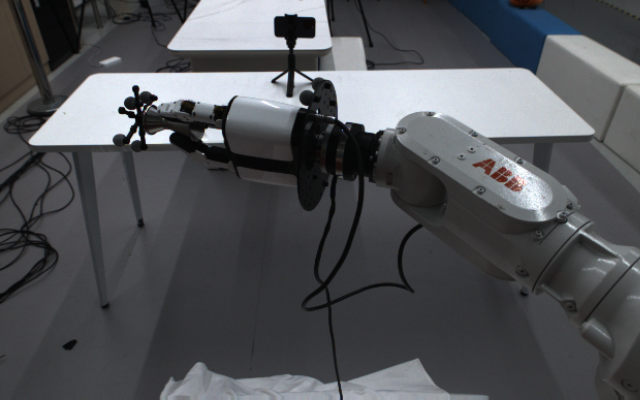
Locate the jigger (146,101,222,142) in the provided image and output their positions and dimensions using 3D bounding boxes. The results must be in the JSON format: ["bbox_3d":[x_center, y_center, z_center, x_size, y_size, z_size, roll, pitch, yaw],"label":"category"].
[{"bbox_3d":[-0.187,-0.106,0.637,0.071,0.043,0.043,8,35,13],"label":"jigger"}]
